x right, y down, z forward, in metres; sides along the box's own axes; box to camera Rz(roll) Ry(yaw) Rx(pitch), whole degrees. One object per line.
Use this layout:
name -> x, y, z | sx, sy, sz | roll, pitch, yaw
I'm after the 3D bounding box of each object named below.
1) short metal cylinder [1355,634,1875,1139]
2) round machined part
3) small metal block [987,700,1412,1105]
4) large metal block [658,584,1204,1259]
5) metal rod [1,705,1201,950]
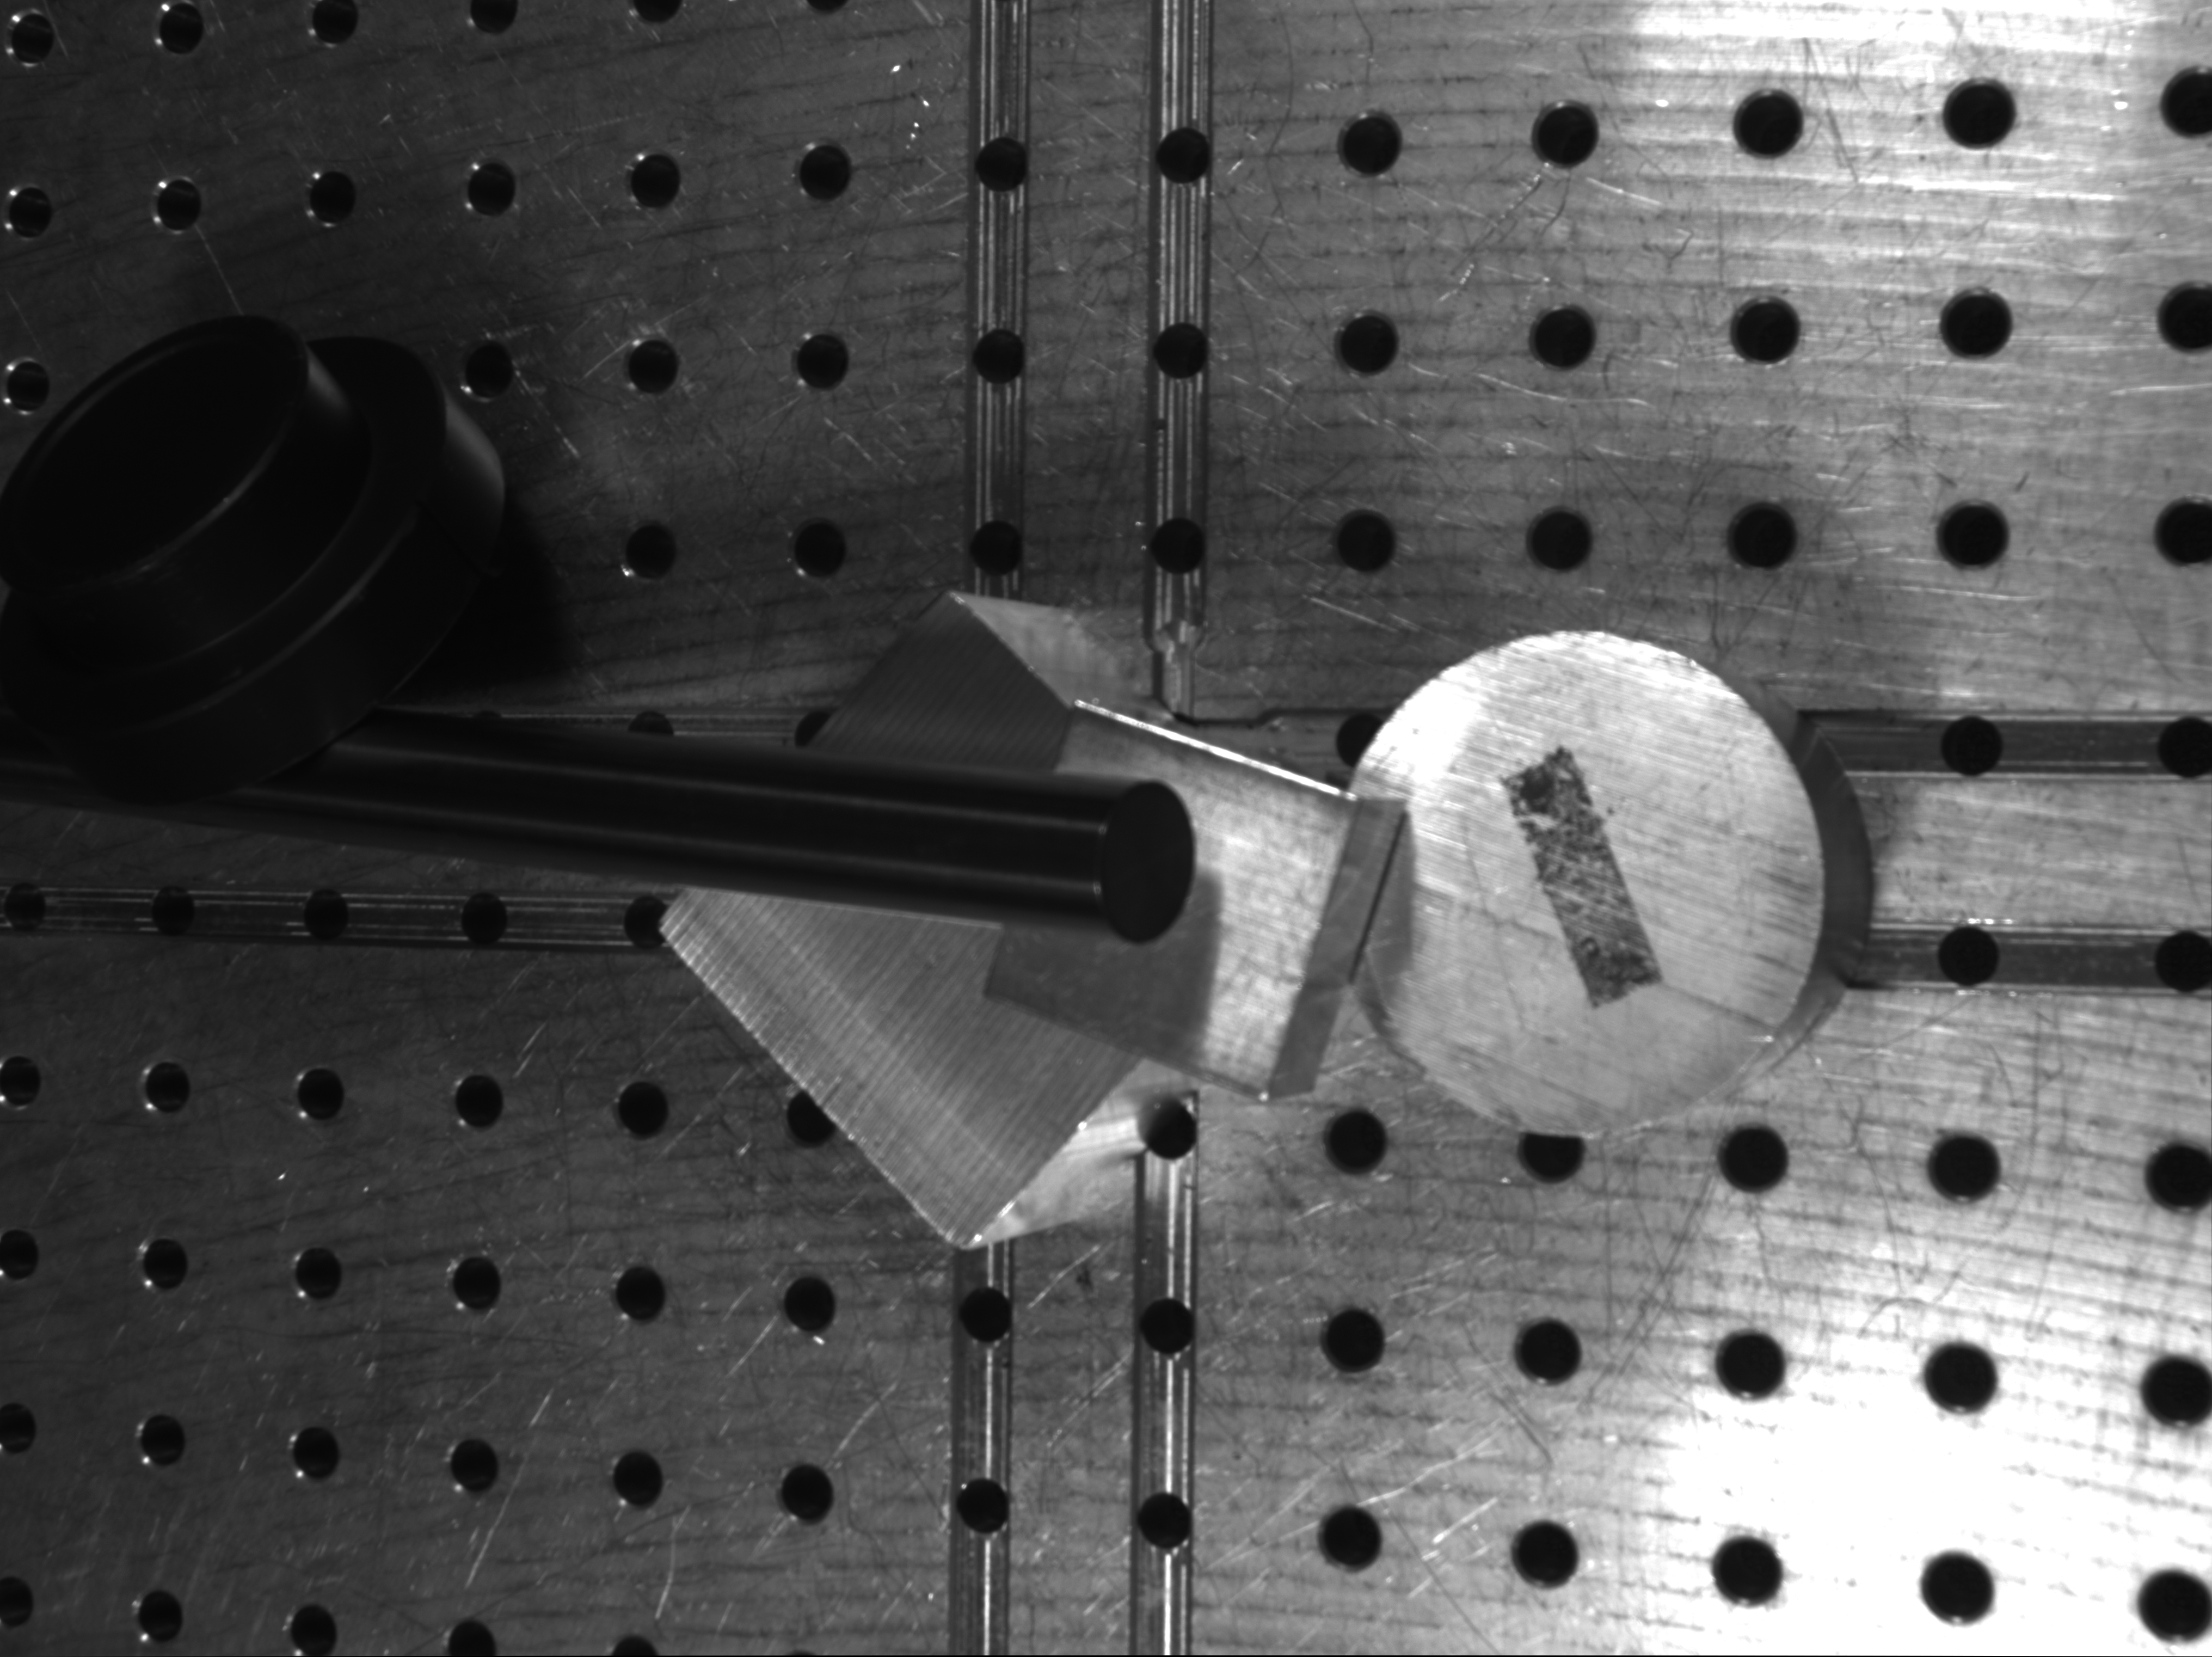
short metal cylinder -> 0.083, 0.009, 0.604 | 0.080, 0.050, 0.080 | 0, 90, 20
round machined part -> -0.162, -0.055, 0.667 | 0.098, 0.042, 0.098 | -18, 44, 19
small metal block -> 0.015, 0.011, 0.586 | 0.050, 0.025, 0.050 | 20, 96, 19
large metal block -> -0.016, 0.016, 0.637 | 0.080, 0.050, 0.080 | 45, 104, 14
metal rod -> -0.112, -0.007, 0.640 | 0.299, 0.025, 0.025 | 6, 92, 37
